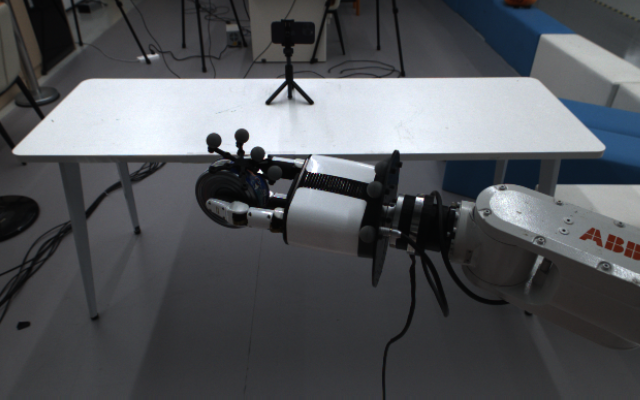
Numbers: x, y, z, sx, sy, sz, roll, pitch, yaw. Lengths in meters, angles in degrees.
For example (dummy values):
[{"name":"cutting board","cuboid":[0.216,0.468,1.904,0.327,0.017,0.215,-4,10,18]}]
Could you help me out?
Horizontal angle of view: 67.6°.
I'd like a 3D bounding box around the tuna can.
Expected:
[{"name":"tuna can","cuboid":[-0.104,-0.001,0.589,0.085,0.085,0.034,12,35,14]}]
